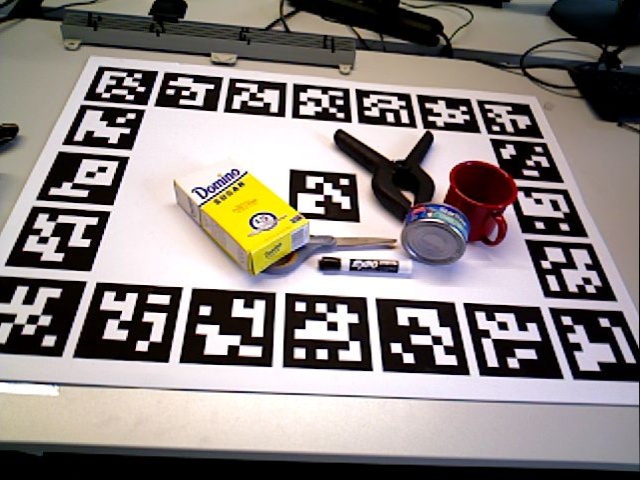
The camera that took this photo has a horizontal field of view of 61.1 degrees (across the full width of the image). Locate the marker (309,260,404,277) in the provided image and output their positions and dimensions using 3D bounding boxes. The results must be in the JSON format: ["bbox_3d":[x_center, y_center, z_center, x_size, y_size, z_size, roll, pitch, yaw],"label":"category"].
[{"bbox_3d":[0.046,0.036,0.692,0.120,0.020,0.019,2,51,-6],"label":"marker"}]

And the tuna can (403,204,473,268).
[{"bbox_3d":[0.150,-0.003,0.694,0.085,0.088,0.033,18,50,6],"label":"tuna can"}]

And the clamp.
[{"bbox_3d":[0.115,-0.093,0.809,0.163,0.037,0.200,-4,53,-11],"label":"clamp"}]

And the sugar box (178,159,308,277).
[{"bbox_3d":[-0.103,-0.037,0.707,0.091,0.046,0.176,-27,53,-27],"label":"sugar box"}]

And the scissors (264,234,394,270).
[{"bbox_3d":[0.001,0.000,0.712,0.200,0.016,0.086,-3,47,-12],"label":"scissors"}]

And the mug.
[{"bbox_3d":[0.208,-0.036,0.736,0.092,0.083,0.116,-18,52,-22],"label":"mug"}]
